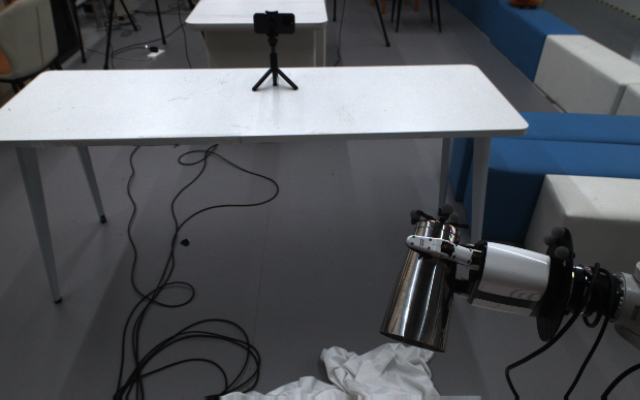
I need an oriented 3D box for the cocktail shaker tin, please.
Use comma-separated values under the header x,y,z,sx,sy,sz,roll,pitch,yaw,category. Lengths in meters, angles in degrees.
x,y,z,sx,sy,sz,roll,pitch,yaw,category
0.152,0.116,0.694,0.093,0.093,0.170,13,71,16,cocktail shaker tin
